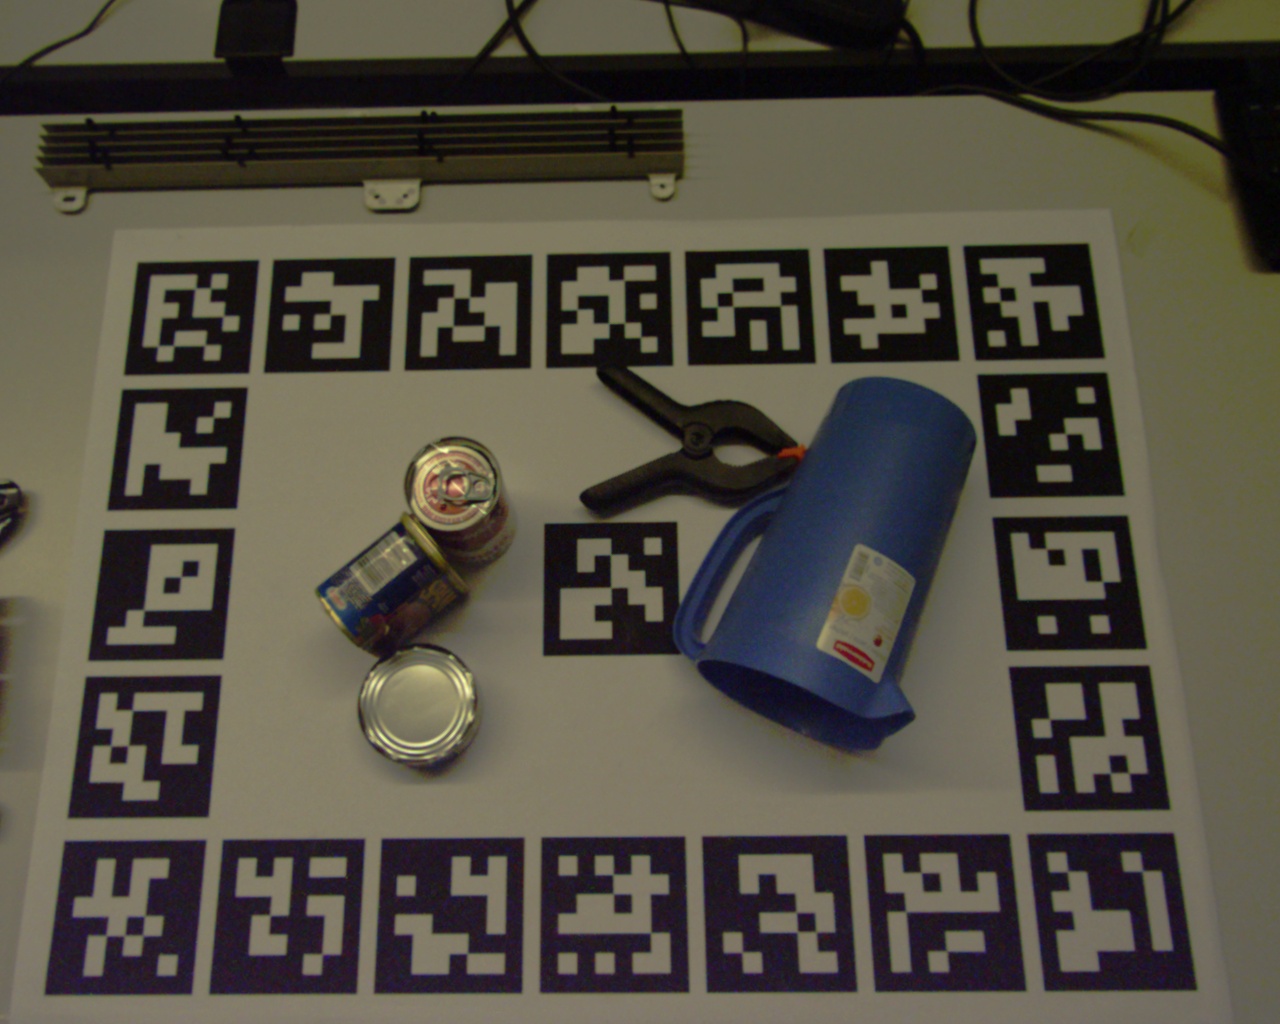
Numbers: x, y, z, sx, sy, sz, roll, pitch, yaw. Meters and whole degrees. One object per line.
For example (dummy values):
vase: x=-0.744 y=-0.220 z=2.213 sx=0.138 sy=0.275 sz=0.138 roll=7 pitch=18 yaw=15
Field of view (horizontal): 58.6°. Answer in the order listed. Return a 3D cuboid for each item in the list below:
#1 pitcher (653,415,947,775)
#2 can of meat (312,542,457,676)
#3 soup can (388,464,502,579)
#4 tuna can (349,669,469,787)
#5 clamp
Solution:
pitcher: x=0.124 y=0.053 z=0.825 sx=0.191 sy=0.132 sz=0.242 roll=14 pitch=66 yaw=28
can of meat: x=-0.192 y=0.075 z=0.845 sx=0.083 sy=0.101 sz=0.058 roll=-36 pitch=78 yaw=-5
soup can: x=-0.145 y=0.010 z=0.867 sx=0.068 sy=0.101 sz=0.068 roll=-1 pitch=76 yaw=3
tuna can: x=-0.172 y=0.163 z=0.857 sx=0.086 sy=0.033 sz=0.086 roll=-1 pitch=76 yaw=1
clamp: x=0.011 y=-0.036 z=0.918 sx=0.165 sy=0.036 sz=0.122 roll=2 pitch=70 yaw=-1
